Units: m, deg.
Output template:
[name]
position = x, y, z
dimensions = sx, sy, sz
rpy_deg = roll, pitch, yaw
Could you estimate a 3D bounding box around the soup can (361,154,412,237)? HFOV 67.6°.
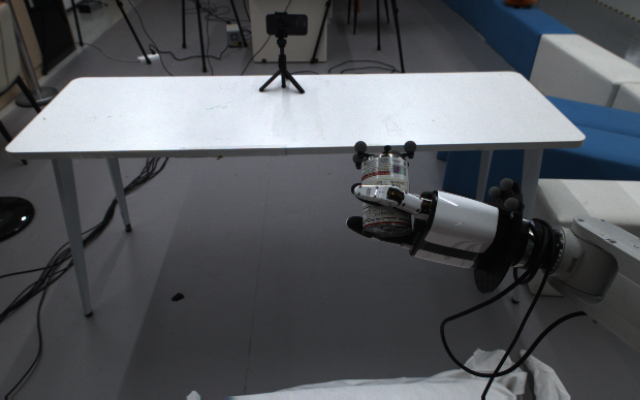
[soup can]
position = 0.092, -0.005, 0.668
dimensions = 0.067, 0.067, 0.101
rpy_deg = 1, 72, -2
